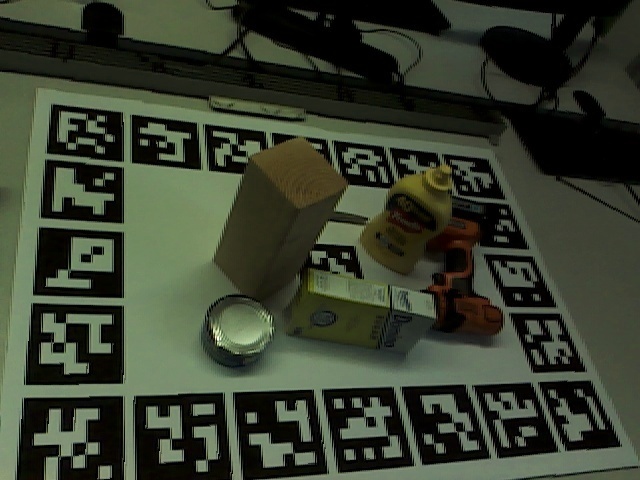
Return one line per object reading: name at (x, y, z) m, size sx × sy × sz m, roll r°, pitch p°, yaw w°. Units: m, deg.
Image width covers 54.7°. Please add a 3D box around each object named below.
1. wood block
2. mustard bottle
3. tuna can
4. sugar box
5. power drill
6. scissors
wood block at (-0.051, -0.014, 0.793) m, size 0.090 × 0.206 × 0.090 m, roll -26°, pitch 69°, yaw -37°
mustard bottle at (0.142, -0.031, 0.900) m, size 0.096 × 0.191 × 0.058 m, roll 42°, pitch 50°, yaw 10°
tuna can at (-0.093, 0.114, 0.770) m, size 0.085 × 0.034 × 0.086 m, roll 12°, pitch 50°, yaw -16°
sugar box at (0.067, 0.101, 0.818) m, size 0.176 × 0.093 × 0.045 m, roll 14°, pitch 46°, yaw -16°
power drill at (0.176, 0.047, 0.932) m, size 0.184 × 0.057 × 0.187 m, roll 14°, pitch 56°, yaw -13°
scissors at (-0.024, -0.041, 0.941) m, size 0.202 × 0.016 × 0.088 m, roll 5°, pitch 48°, yaw -21°
